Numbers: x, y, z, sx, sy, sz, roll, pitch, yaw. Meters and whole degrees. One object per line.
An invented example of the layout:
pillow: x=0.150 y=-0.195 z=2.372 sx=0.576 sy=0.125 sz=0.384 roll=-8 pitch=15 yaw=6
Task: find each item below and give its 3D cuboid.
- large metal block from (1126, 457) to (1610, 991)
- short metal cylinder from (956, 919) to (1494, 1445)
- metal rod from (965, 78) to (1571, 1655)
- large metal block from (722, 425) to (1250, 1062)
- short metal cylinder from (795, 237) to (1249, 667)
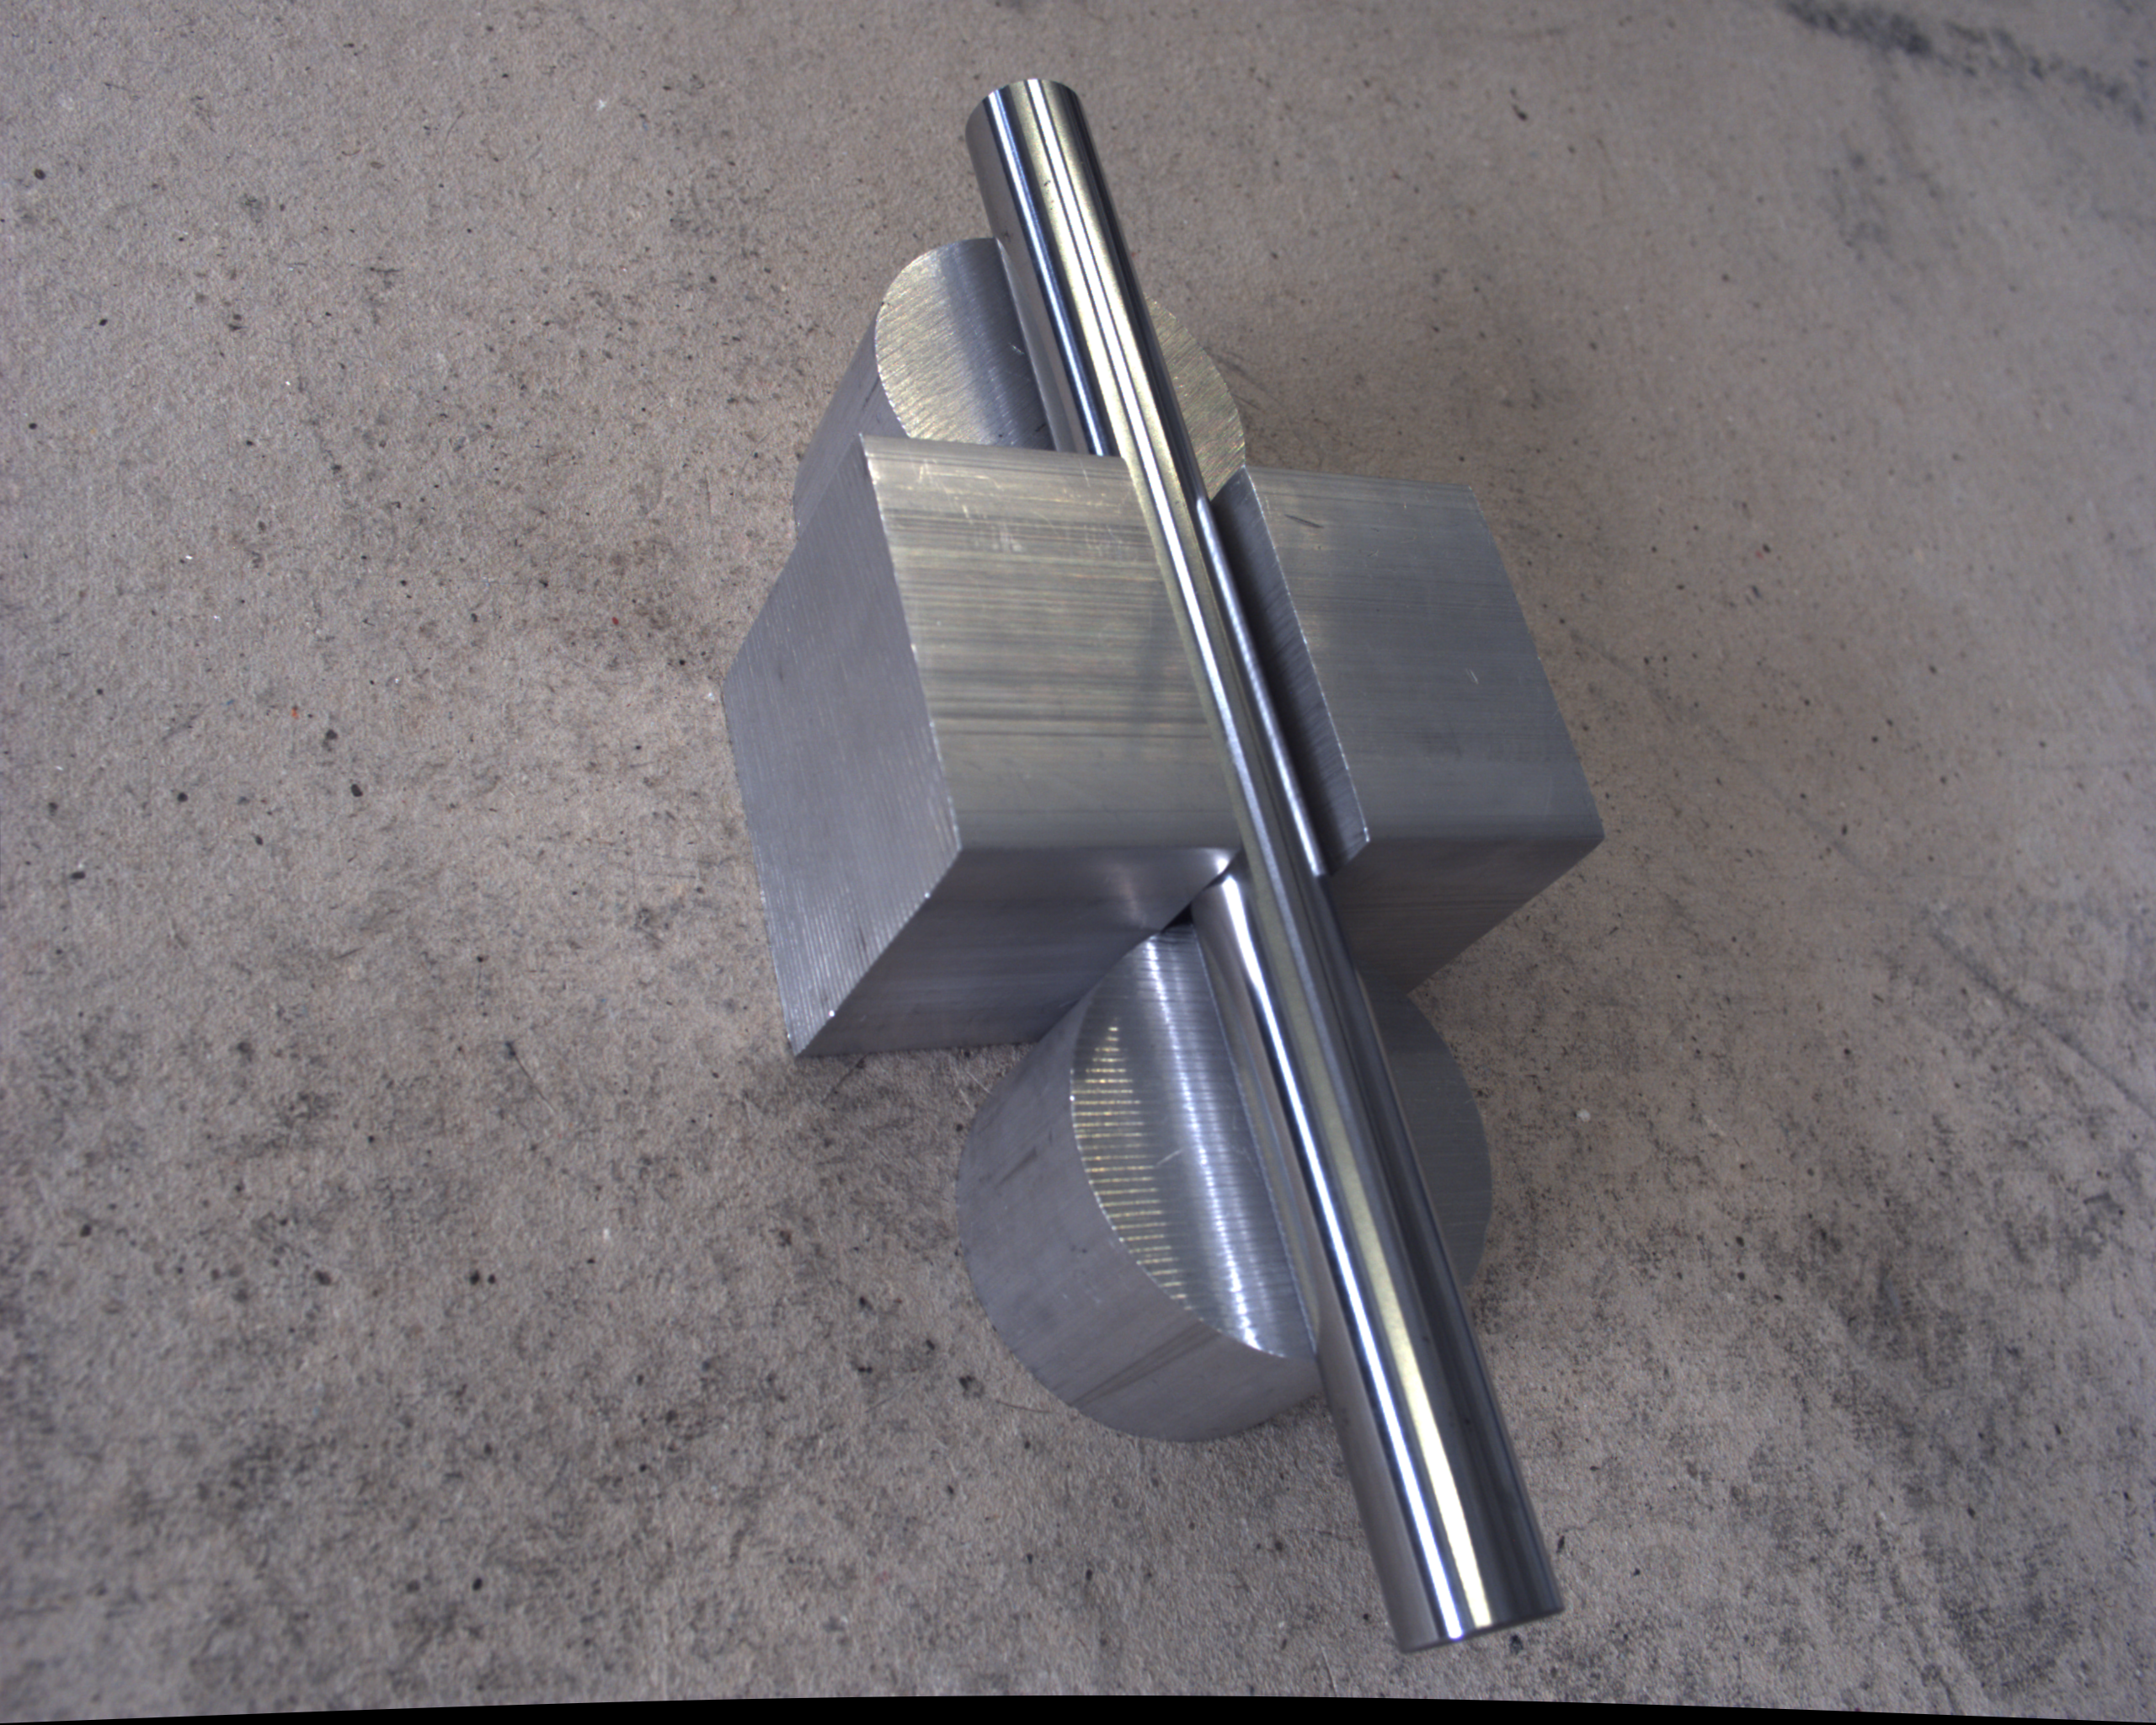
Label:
large metal block: x=0.047 y=-0.021 z=0.407 sx=0.050 sy=0.080 sz=0.080 roll=-1 pitch=62 yaw=-29
short metal cylinder: x=0.025 y=0.057 z=0.369 sx=0.081 sy=0.050 sz=0.080 roll=14 pitch=56 yaw=-21
metal rod: x=0.024 y=-0.019 z=0.365 sx=0.025 sy=0.025 sz=0.299 roll=-1 pitch=62 yaw=-29
large metal block: x=-0.021 y=-0.019 z=0.370 sx=0.050 sy=0.080 sz=0.080 roll=-1 pitch=62 yaw=-29
short metal cylinder: x=-0.012 y=-0.082 z=0.432 sx=0.081 sy=0.050 sz=0.080 roll=14 pitch=56 yaw=-21
